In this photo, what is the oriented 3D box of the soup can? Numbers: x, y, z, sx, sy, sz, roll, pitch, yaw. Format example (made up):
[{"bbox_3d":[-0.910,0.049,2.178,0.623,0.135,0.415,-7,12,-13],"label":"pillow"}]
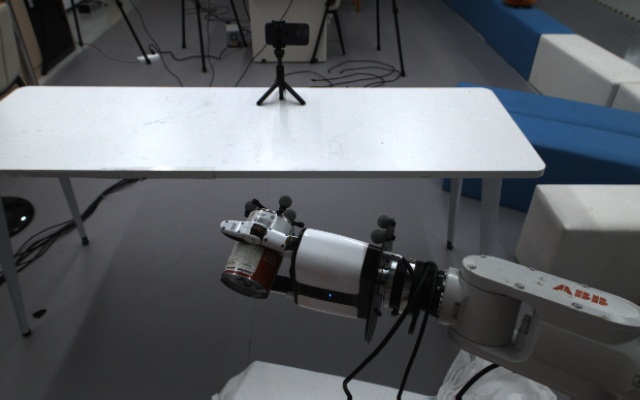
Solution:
[{"bbox_3d":[-0.081,0.070,0.642,0.067,0.067,0.101,12,59,14],"label":"soup can"}]
